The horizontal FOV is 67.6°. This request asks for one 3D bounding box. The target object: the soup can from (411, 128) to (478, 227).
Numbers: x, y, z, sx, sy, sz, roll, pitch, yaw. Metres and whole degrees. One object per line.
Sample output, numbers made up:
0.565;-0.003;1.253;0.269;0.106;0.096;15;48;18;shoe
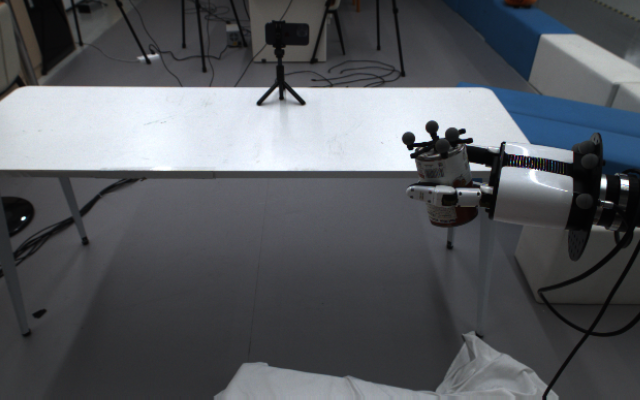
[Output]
0.169;-0.025;0.645;0.067;0.101;0.067;-16;22;7;soup can
